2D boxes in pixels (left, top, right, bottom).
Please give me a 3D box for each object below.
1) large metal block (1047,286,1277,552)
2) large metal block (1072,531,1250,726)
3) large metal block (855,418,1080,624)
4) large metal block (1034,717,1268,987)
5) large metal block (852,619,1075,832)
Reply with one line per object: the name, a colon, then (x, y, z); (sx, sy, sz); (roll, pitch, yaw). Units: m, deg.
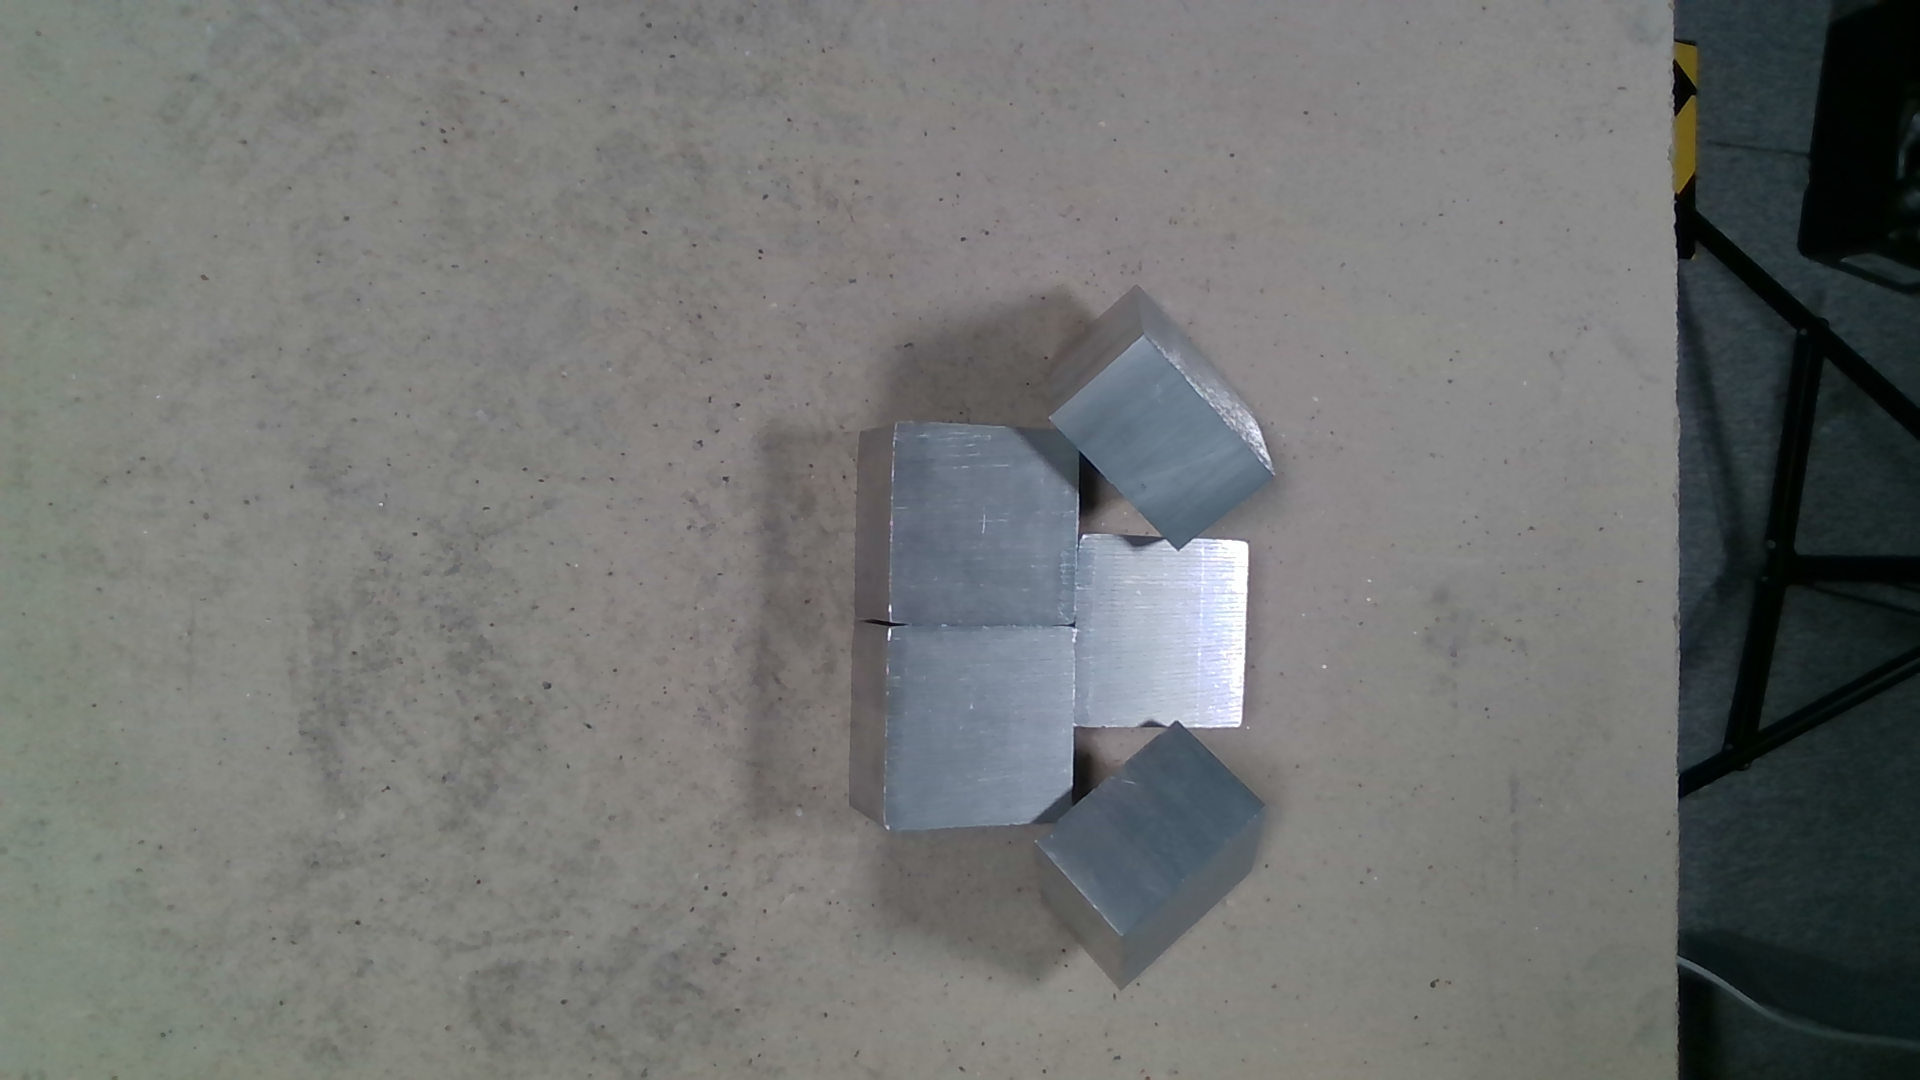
large metal block: (0.083, -0.054, 0.580); (0.050, 0.080, 0.080); (-40, 106, 20)
large metal block: (0.077, 0.038, 0.602); (0.080, 0.050, 0.080); (3, 89, -20)
large metal block: (0.002, -0.007, 0.573); (0.080, 0.050, 0.080); (1, 90, -20)
large metal block: (0.079, 0.133, 0.580); (0.080, 0.080, 0.050); (-37, 62, -16)
large metal block: (0.000, 0.074, 0.571); (0.080, 0.050, 0.080); (1, 90, -20)
